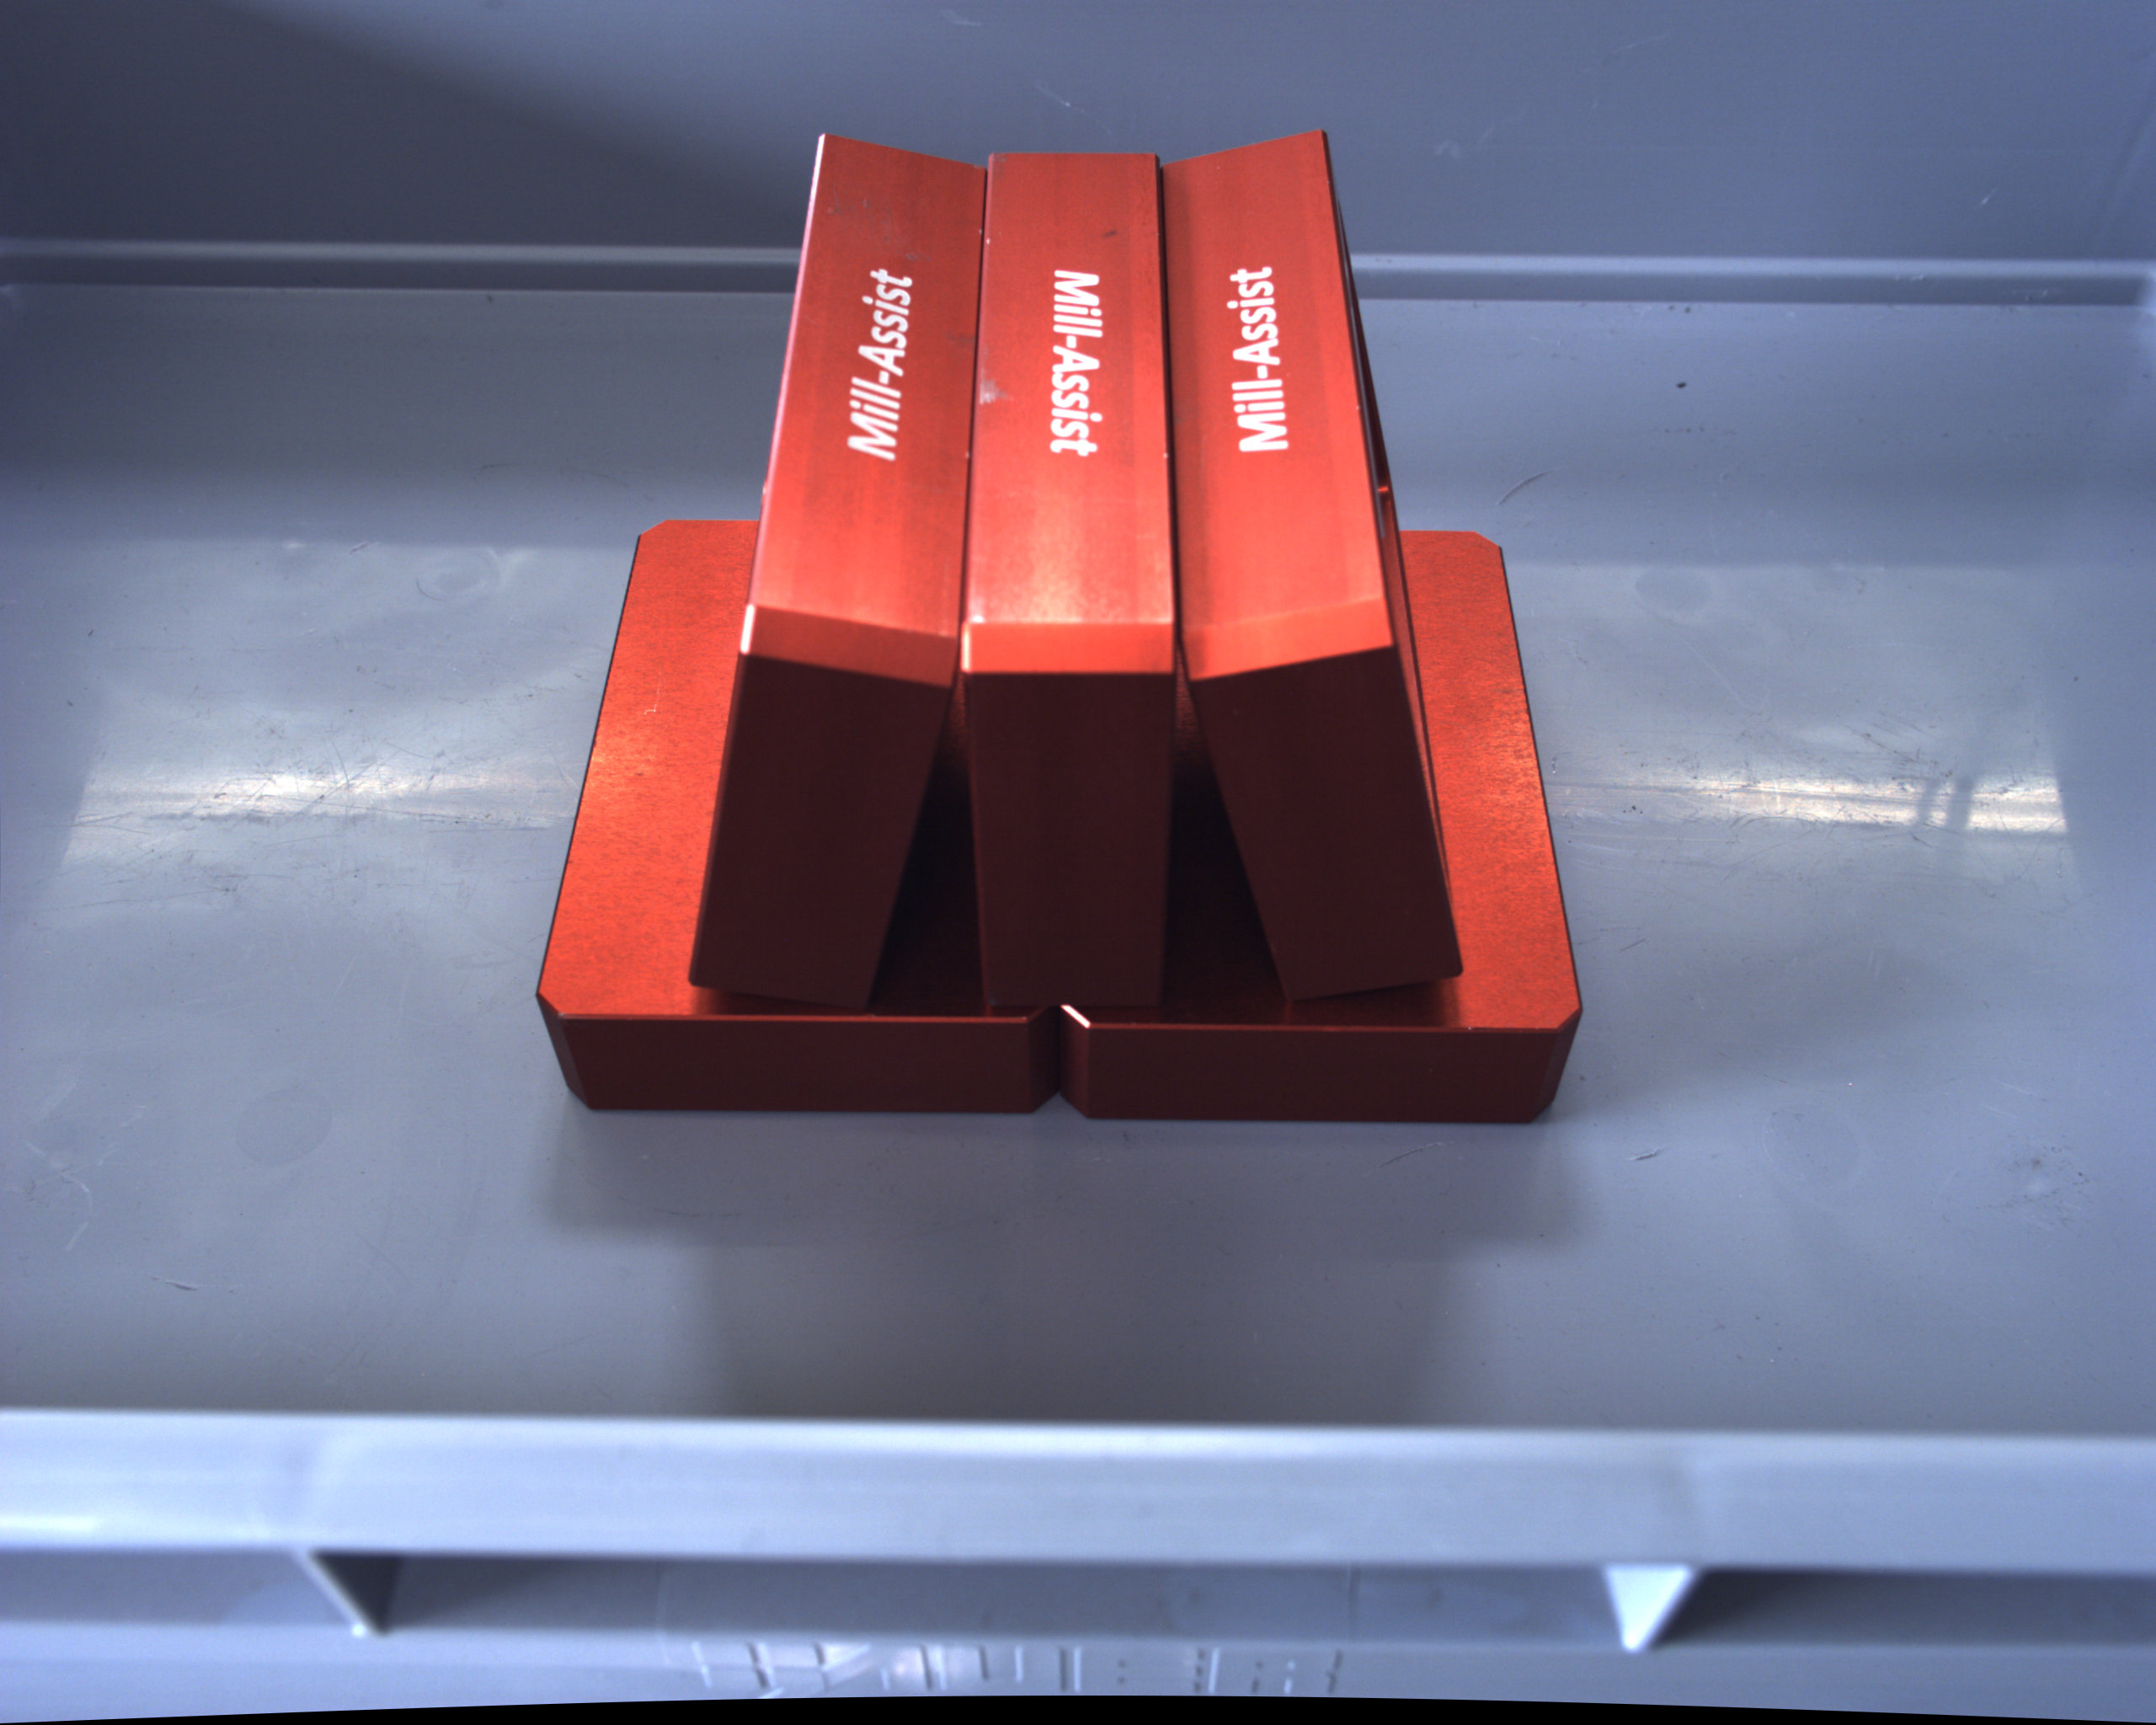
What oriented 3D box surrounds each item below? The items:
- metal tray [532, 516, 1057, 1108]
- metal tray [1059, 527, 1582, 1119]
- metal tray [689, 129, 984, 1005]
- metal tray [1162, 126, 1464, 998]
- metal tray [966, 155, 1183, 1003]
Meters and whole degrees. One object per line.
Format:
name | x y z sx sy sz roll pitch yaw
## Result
metal tray | -0.049 -0.014 0.410 0.091 0.030 0.130 1 50 0
metal tray | 0.043 -0.012 0.410 0.091 0.030 0.130 1 50 0
metal tray | -0.041 -0.052 0.362 0.030 0.089 0.130 8 49 -10
metal tray | 0.040 -0.053 0.364 0.030 0.090 0.130 -9 49 11
metal tray | 0.000 -0.051 0.363 0.030 0.089 0.130 0 48 0
